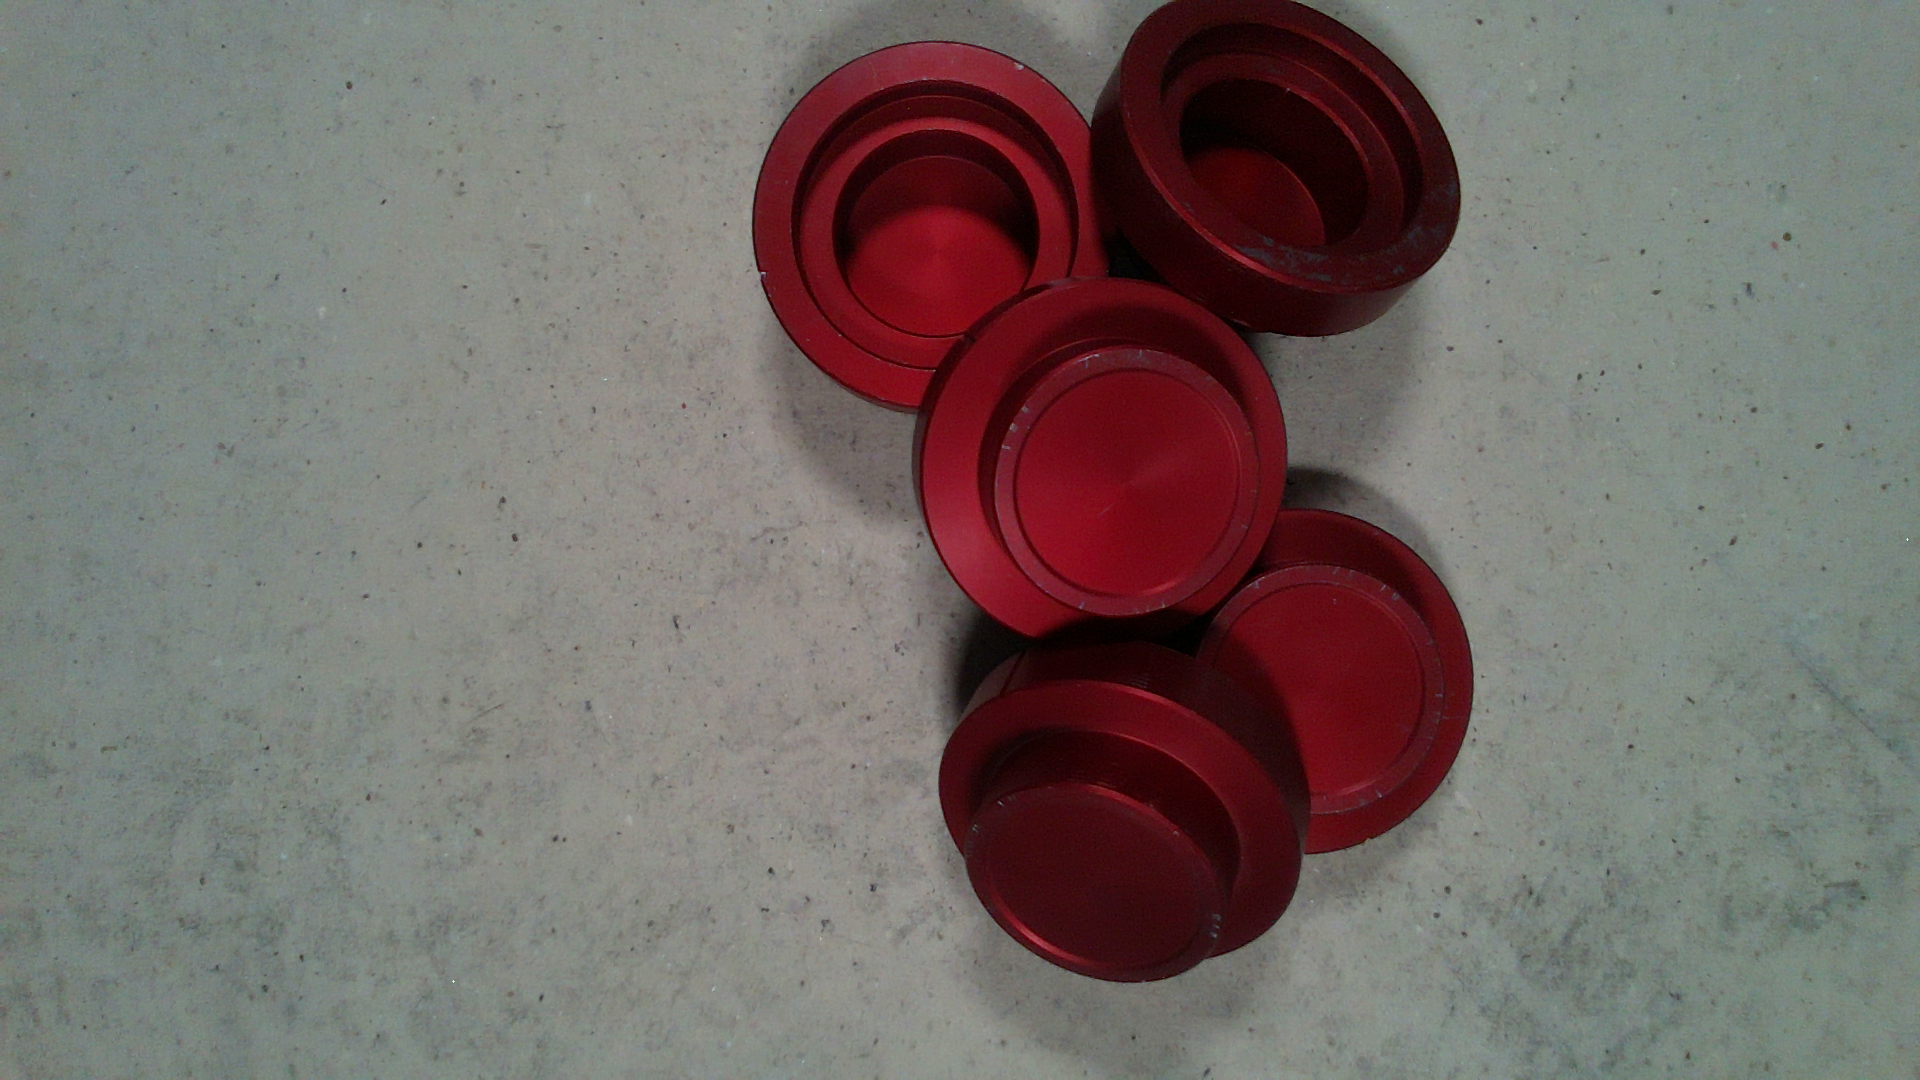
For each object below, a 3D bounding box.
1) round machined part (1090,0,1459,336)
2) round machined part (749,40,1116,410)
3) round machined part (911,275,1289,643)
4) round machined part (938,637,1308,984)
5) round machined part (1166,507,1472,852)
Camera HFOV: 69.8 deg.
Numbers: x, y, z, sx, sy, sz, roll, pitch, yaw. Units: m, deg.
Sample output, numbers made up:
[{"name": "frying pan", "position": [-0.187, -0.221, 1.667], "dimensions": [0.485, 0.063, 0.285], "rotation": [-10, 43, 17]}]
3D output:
[{"name": "round machined part", "position": [0.080, -0.096, 0.373], "dimensions": [0.098, 0.042, 0.098], "rotation": [8, 63, -15]}, {"name": "round machined part", "position": [-0.007, -0.084, 0.386], "dimensions": [0.098, 0.042, 0.098], "rotation": [0, 90, 0]}, {"name": "round machined part", "position": [0.038, -0.019, 0.354], "dimensions": [0.098, 0.042, 0.098], "rotation": [-2, 101, -8]}, {"name": "round machined part", "position": [0.040, 0.077, 0.362], "dimensions": [0.098, 0.042, 0.098], "rotation": [11, 126, 16]}, {"name": "round machined part", "position": [0.096, 0.040, 0.387], "dimensions": [0.098, 0.042, 0.098], "rotation": [0, 90, 0]}]
